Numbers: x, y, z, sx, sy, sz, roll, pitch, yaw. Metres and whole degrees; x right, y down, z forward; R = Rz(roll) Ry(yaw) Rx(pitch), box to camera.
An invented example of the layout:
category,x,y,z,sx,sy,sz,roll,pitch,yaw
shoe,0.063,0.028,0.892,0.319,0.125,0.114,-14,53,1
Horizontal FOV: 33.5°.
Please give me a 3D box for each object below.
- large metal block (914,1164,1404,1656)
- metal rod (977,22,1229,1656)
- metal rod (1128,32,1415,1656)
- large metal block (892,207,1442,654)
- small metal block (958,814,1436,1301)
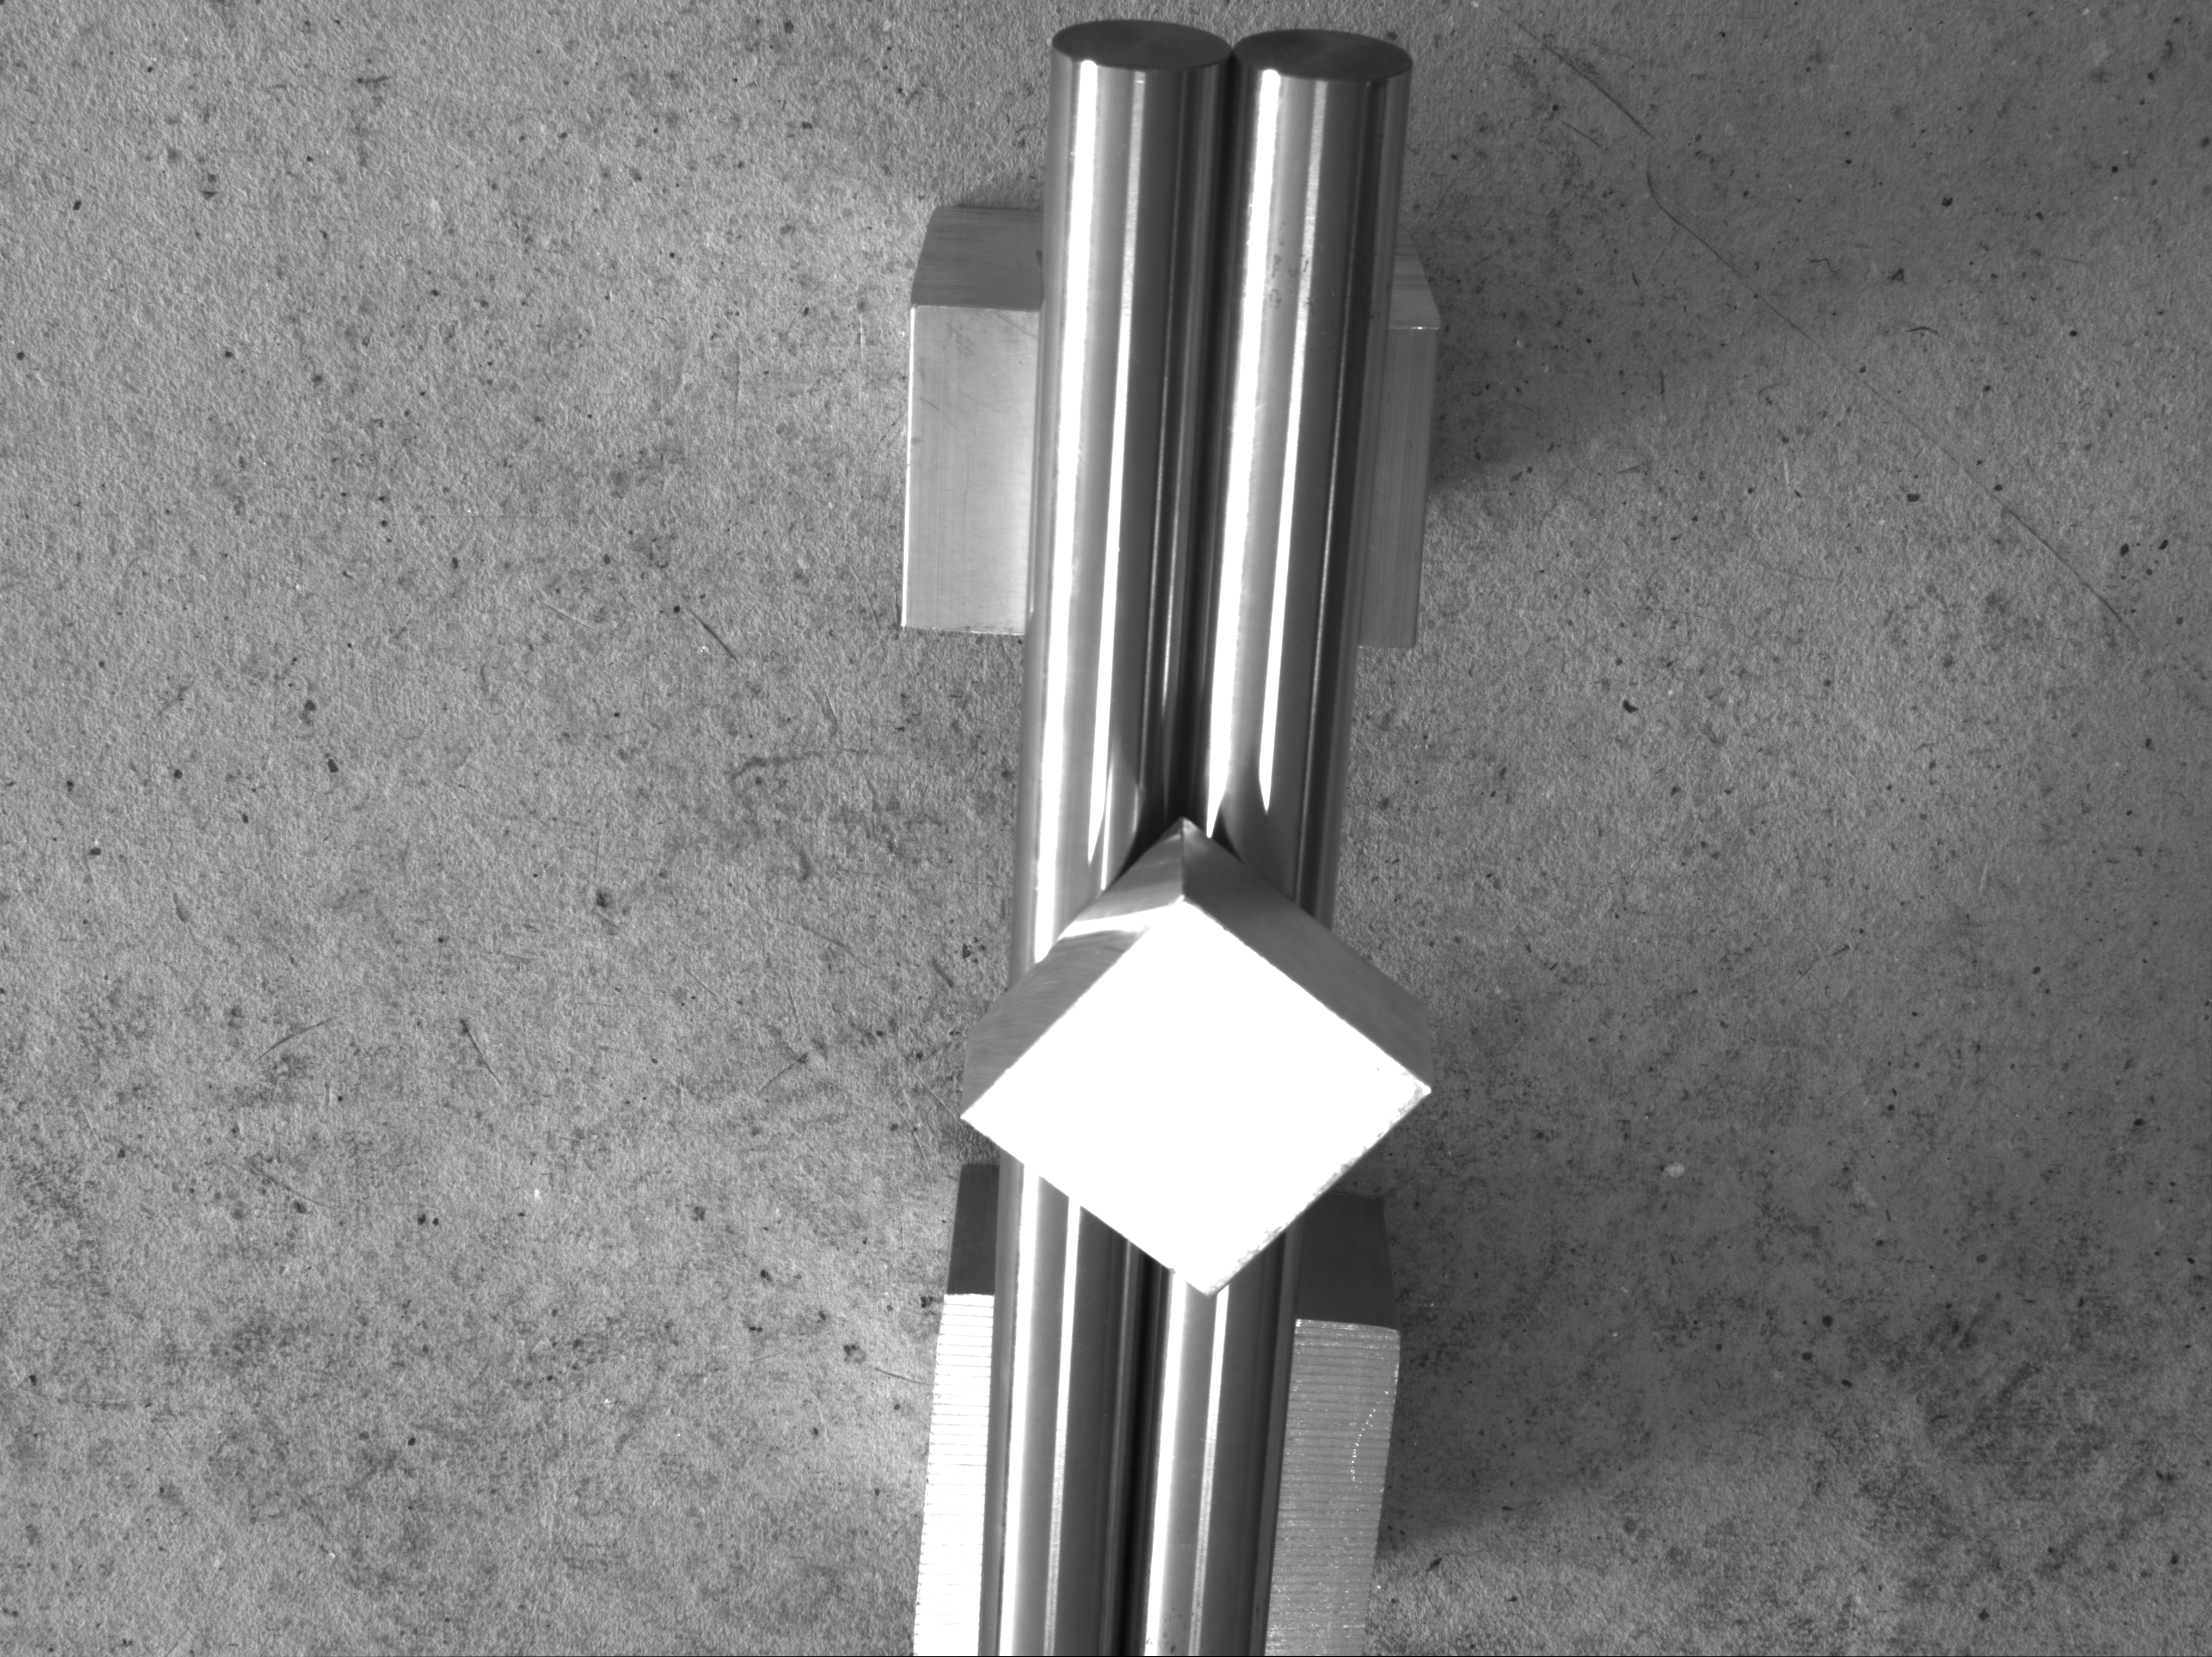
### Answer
category,x,y,z,sx,sy,sz,roll,pitch,yaw
large metal block,0.008,0.111,0.671,0.080,0.050,0.080,4,110,-2
metal rod,-0.003,0.025,0.576,0.025,0.025,0.300,3,117,-1
metal rod,0.023,0.027,0.576,0.025,0.025,0.300,3,117,-1
large metal block,0.009,-0.066,0.591,0.080,0.080,0.050,3,110,-1
small metal block,0.013,0.035,0.553,0.050,0.025,0.050,38,111,-18
